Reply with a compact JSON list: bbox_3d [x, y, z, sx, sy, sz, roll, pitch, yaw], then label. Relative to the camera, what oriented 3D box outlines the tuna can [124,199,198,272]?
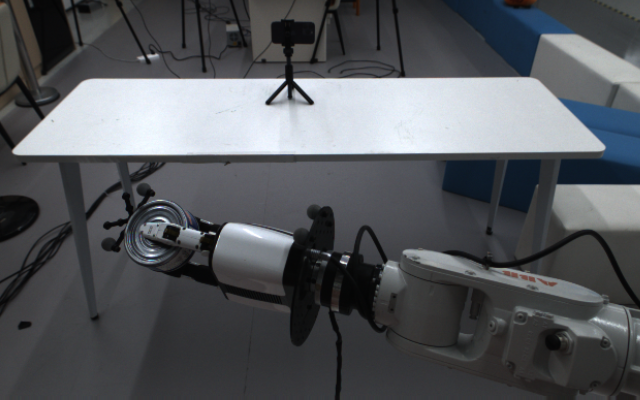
[{"bbox_3d":[-0.191,0.043,0.592,0.085,0.034,0.085,-3,70,9],"label":"tuna can"}]
